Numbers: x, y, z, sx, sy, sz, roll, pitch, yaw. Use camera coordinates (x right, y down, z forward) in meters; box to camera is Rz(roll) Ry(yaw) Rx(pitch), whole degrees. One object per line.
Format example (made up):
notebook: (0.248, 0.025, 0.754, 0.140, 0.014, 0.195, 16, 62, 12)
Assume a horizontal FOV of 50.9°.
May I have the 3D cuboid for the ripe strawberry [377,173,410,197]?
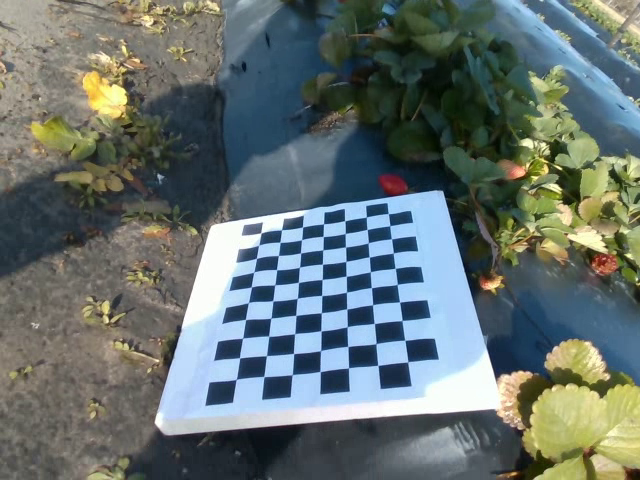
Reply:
ripe strawberry: (0.072, -0.055, 0.681, 0.038, 0.033, 0.034, 36, 26, -22)
